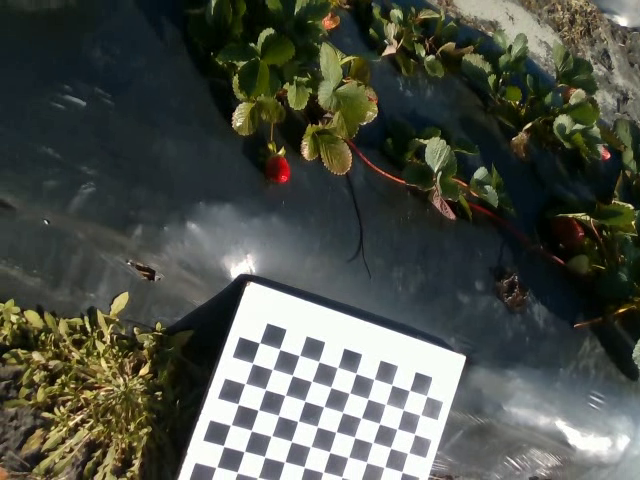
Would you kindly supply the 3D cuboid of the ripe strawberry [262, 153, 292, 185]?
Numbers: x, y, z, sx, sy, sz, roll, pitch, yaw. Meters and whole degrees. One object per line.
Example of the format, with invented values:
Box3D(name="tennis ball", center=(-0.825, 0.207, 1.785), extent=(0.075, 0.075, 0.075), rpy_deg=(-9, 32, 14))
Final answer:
Box3D(name="ripe strawberry", center=(-0.040, -0.070, 0.540), extent=(0.028, 0.031, 0.041), rpy_deg=(-6, 34, -14))
